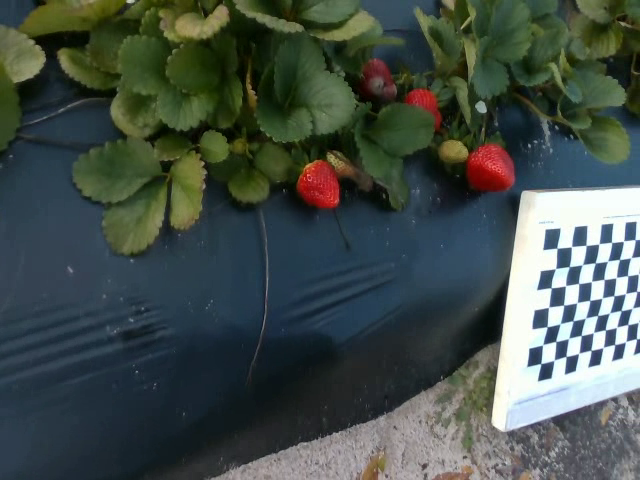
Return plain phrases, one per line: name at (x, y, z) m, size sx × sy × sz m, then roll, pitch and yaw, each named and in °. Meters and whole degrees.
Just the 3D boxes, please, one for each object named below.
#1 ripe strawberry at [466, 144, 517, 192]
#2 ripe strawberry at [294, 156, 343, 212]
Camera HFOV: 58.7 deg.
ripe strawberry at (0.076, -0.028, 0.243) m, size 0.022 × 0.025 × 0.030 m, roll -13°, pitch 29°, yaw 1°
ripe strawberry at (0.001, -0.018, 0.206) m, size 0.018 × 0.022 × 0.017 m, roll -28°, pitch -17°, yaw -21°
